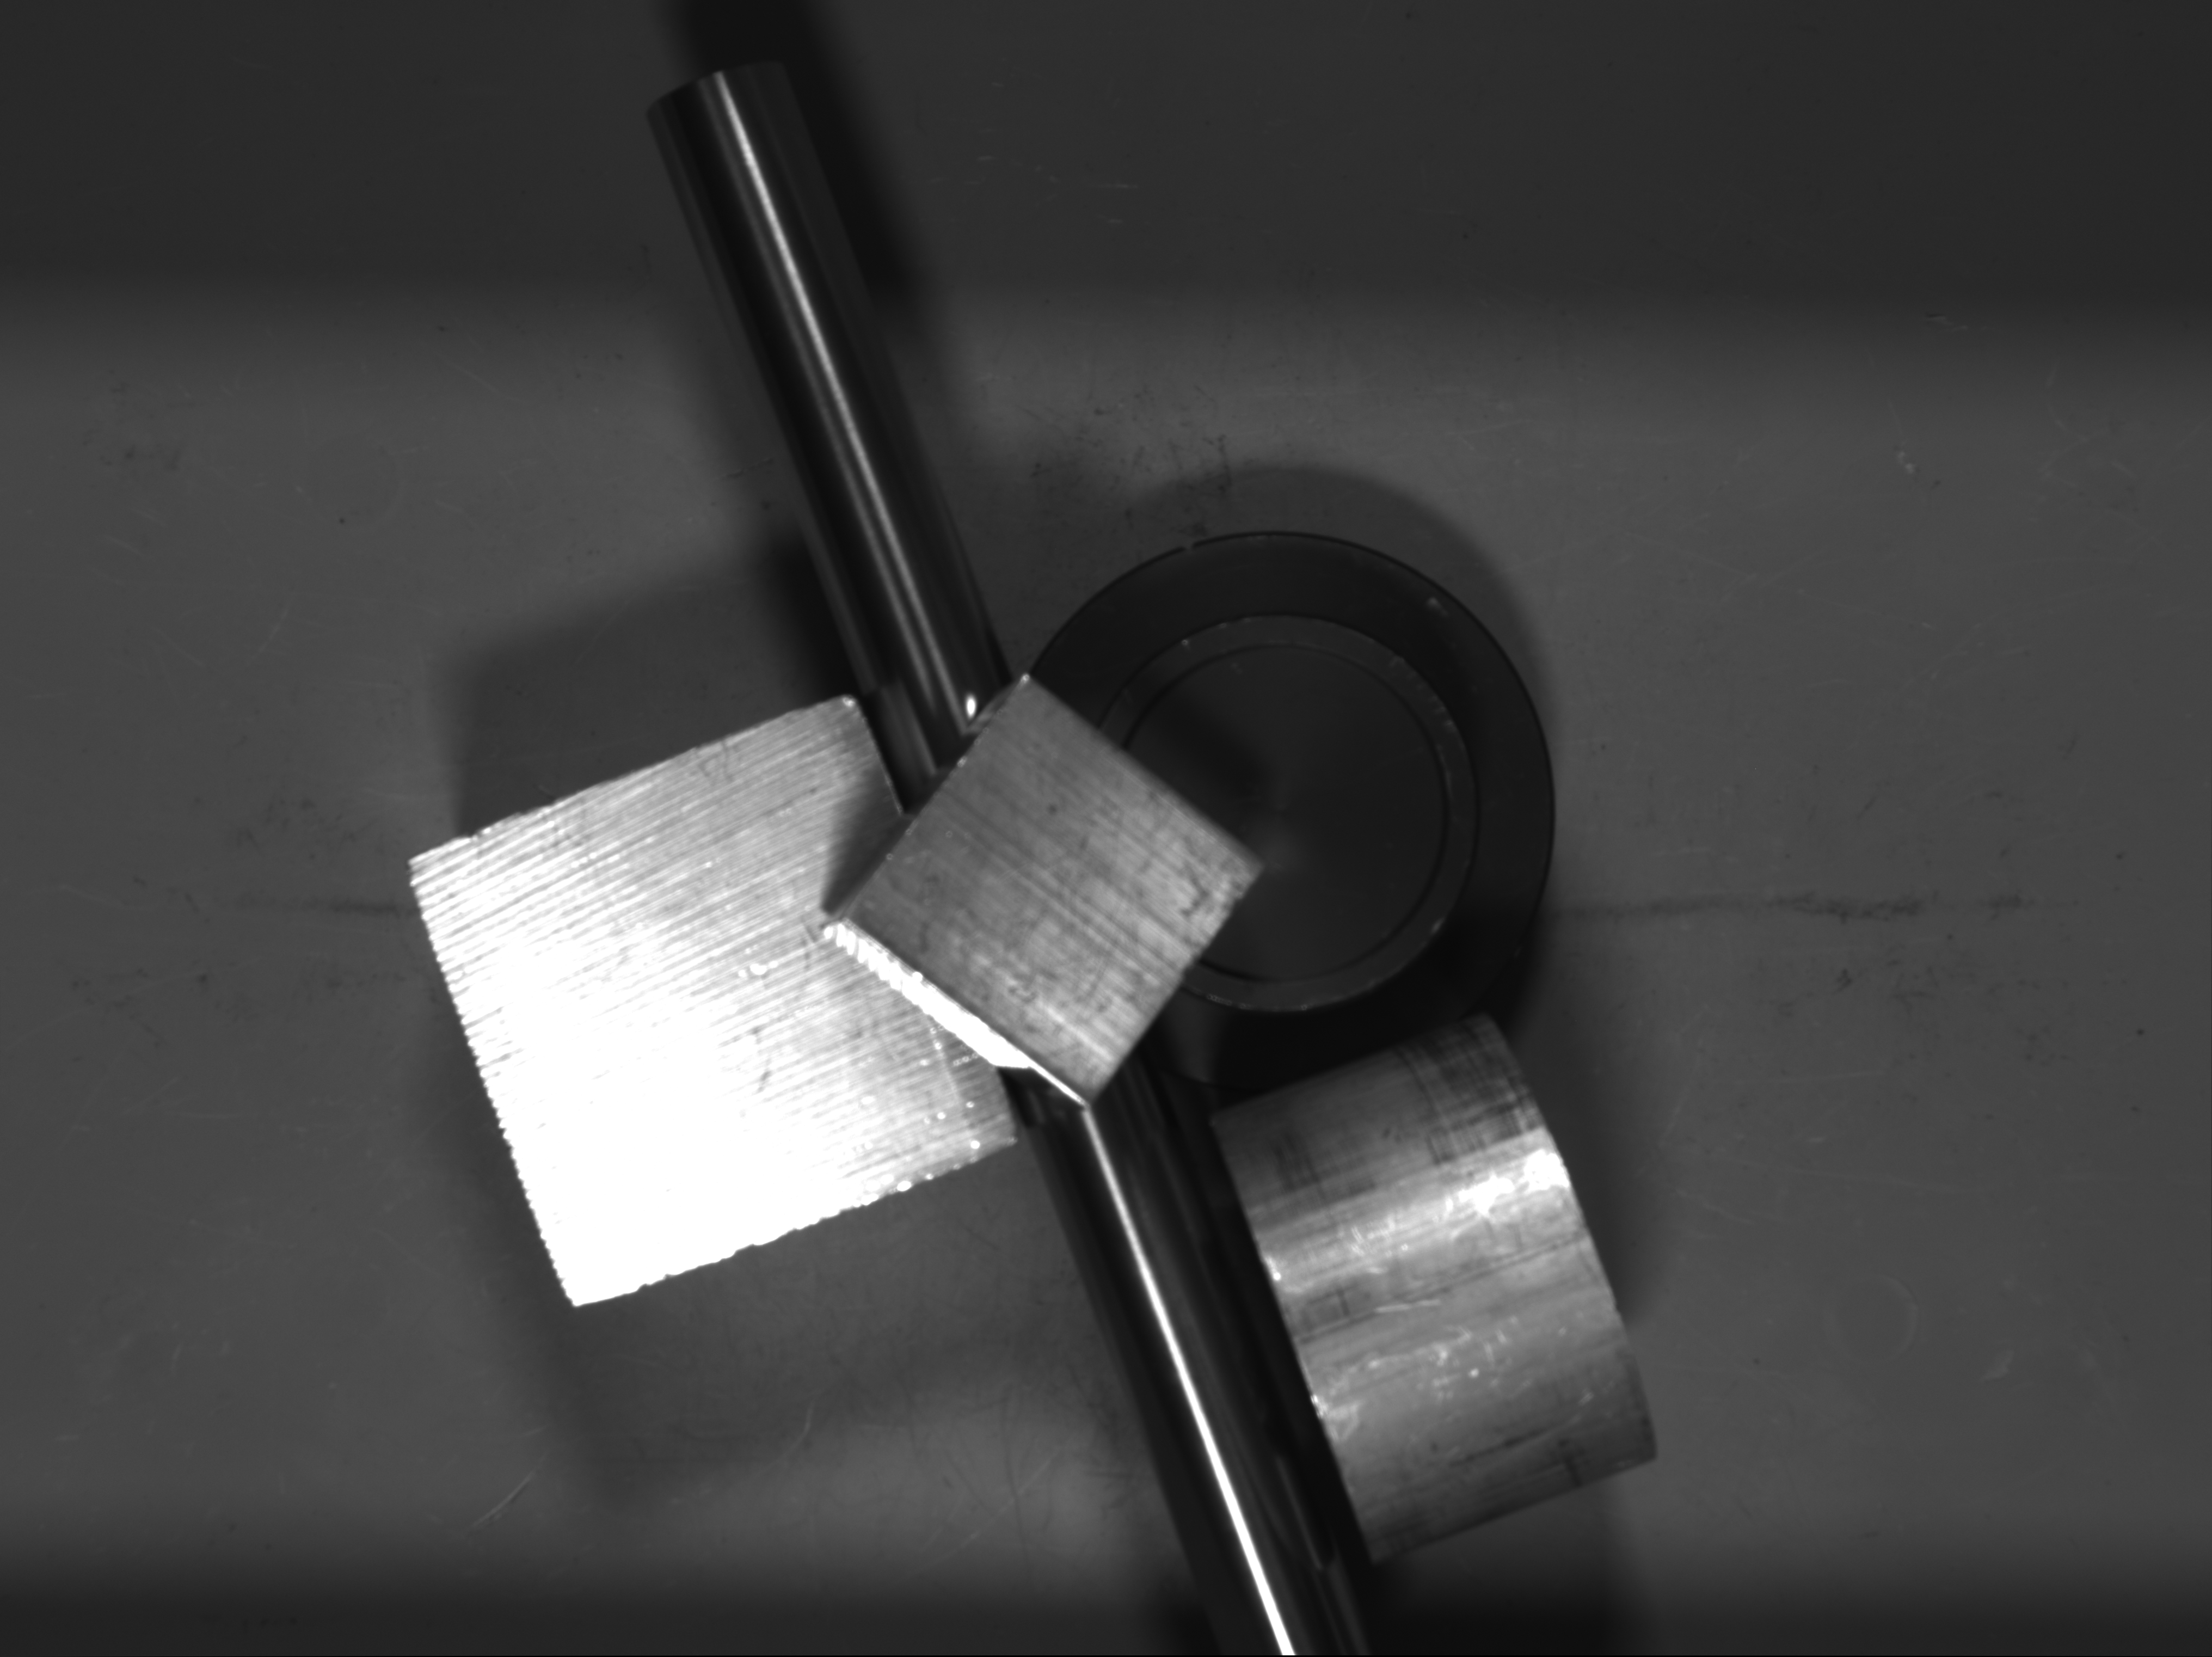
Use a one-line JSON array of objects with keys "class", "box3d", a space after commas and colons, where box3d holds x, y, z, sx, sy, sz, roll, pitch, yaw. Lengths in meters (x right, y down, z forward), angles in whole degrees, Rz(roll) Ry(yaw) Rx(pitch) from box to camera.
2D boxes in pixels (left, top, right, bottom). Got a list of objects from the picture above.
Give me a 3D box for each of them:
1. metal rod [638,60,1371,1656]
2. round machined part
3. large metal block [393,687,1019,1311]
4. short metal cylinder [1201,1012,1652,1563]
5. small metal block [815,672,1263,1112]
[{"class": "metal rod", "box3d": [-0.015, 0.015, 0.623, 0.025, 0.025, 0.300, -21, 90, 0]}, {"class": "round machined part", "box3d": [0.028, -0.003, 0.635, 0.098, 0.042, 0.098, 0, 90, 0]}, {"class": "large metal block", "box3d": [-0.066, 0.028, 0.628, 0.080, 0.050, 0.080, -20, 90, 0]}, {"class": "short metal cylinder", "box3d": [0.053, 0.077, 0.617, 0.050, 0.080, 0.080, -21, 90, 0]}, {"class": "small metal block", "box3d": [-0.011, 0.011, 0.596, 0.050, 0.025, 0.050, 38, 78, -7]}]
